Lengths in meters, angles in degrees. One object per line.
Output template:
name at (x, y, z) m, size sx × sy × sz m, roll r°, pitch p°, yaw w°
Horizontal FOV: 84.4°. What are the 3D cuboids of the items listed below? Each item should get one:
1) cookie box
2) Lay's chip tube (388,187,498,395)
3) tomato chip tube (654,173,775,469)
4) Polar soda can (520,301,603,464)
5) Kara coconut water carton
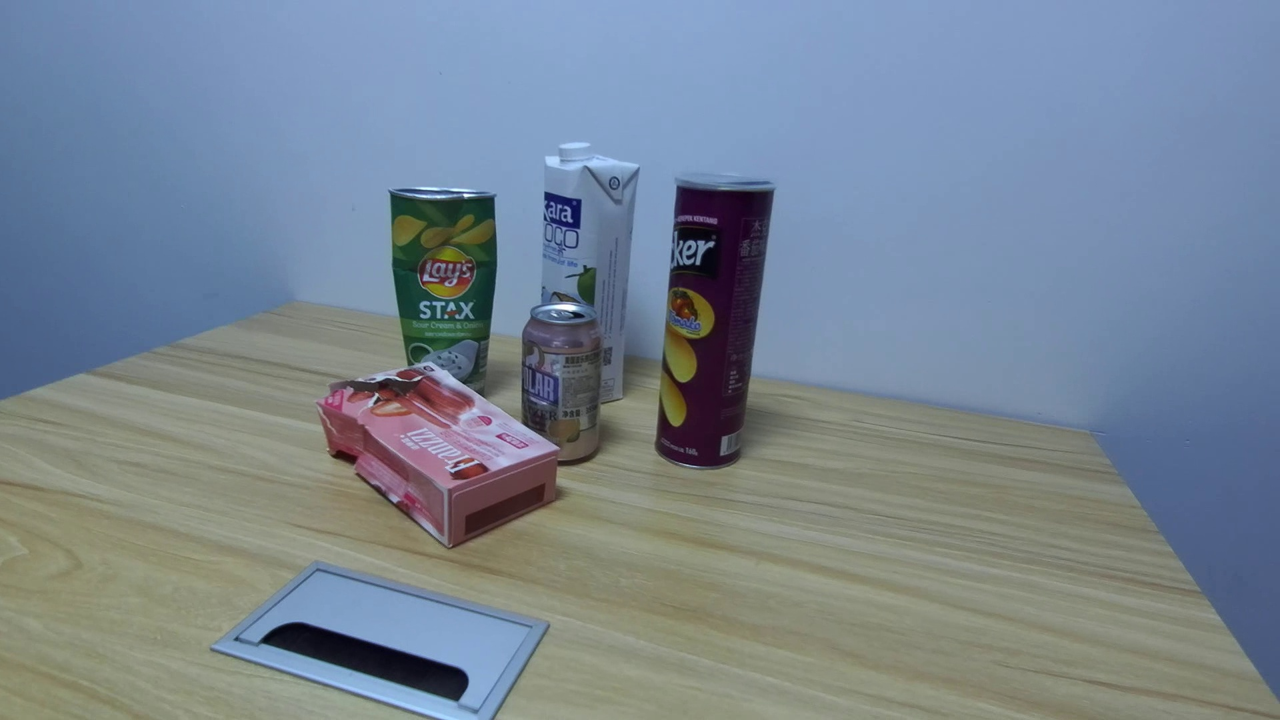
cookie box at (-0.157, 0.063, 0.549) m, size 0.185 × 0.059 × 0.105 m, roll 22°, pitch 30°, yaw 38°
Lay's chip tube at (-0.180, -0.056, 0.660) m, size 0.068 × 0.199 × 0.075 m, roll 23°, pitch 29°, yaw 38°
tomato chip tube at (0.059, -0.029, 0.582) m, size 0.078 × 0.234 × 0.078 m, roll 3°, pitch 21°, yaw -1°
Polar soda can at (-0.065, 0.019, 0.591) m, size 0.067 × 0.125 × 0.067 m, roll 2°, pitch 21°, yaw 0°
Kara coconut water carton at (-0.052, -0.080, 0.678) m, size 0.076 × 0.245 × 0.076 m, roll -11°, pitch 26°, yaw -35°
